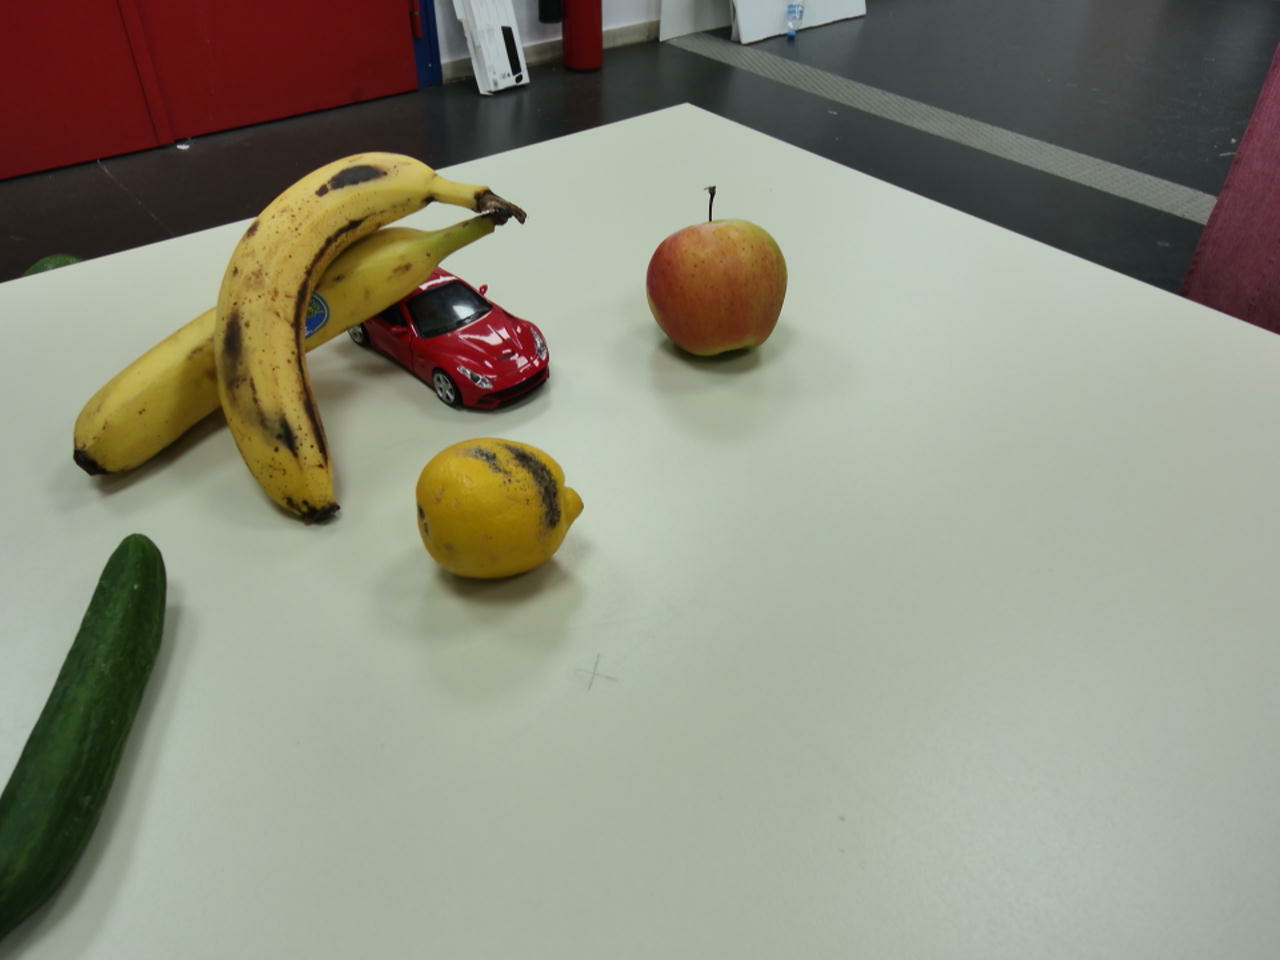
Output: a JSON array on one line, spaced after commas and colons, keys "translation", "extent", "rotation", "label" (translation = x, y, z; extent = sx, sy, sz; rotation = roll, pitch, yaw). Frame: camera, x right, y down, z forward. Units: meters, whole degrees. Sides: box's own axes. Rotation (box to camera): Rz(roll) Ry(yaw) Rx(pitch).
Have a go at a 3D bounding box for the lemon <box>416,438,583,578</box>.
[{"translation": [-0.059, 0.011, 0.398], "extent": [0.058, 0.056, 0.061], "rotation": [29, 45, 32], "label": "lemon"}]
